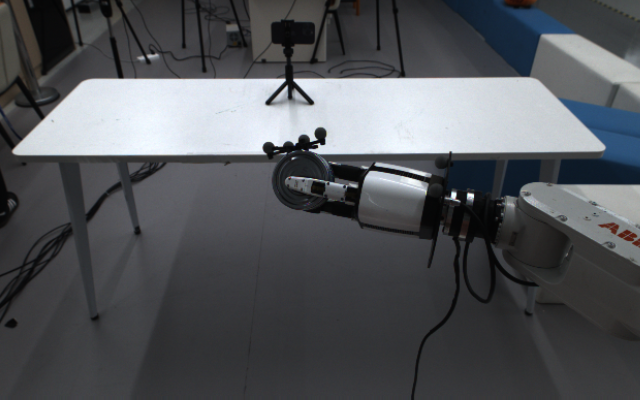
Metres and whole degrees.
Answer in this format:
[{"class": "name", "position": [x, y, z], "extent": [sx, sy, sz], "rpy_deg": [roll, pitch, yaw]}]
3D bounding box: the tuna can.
[{"class": "tuna can", "position": [-0.020, -0.022, 0.684], "extent": [0.085, 0.085, 0.034], "rpy_deg": [12, 3, 14]}]
